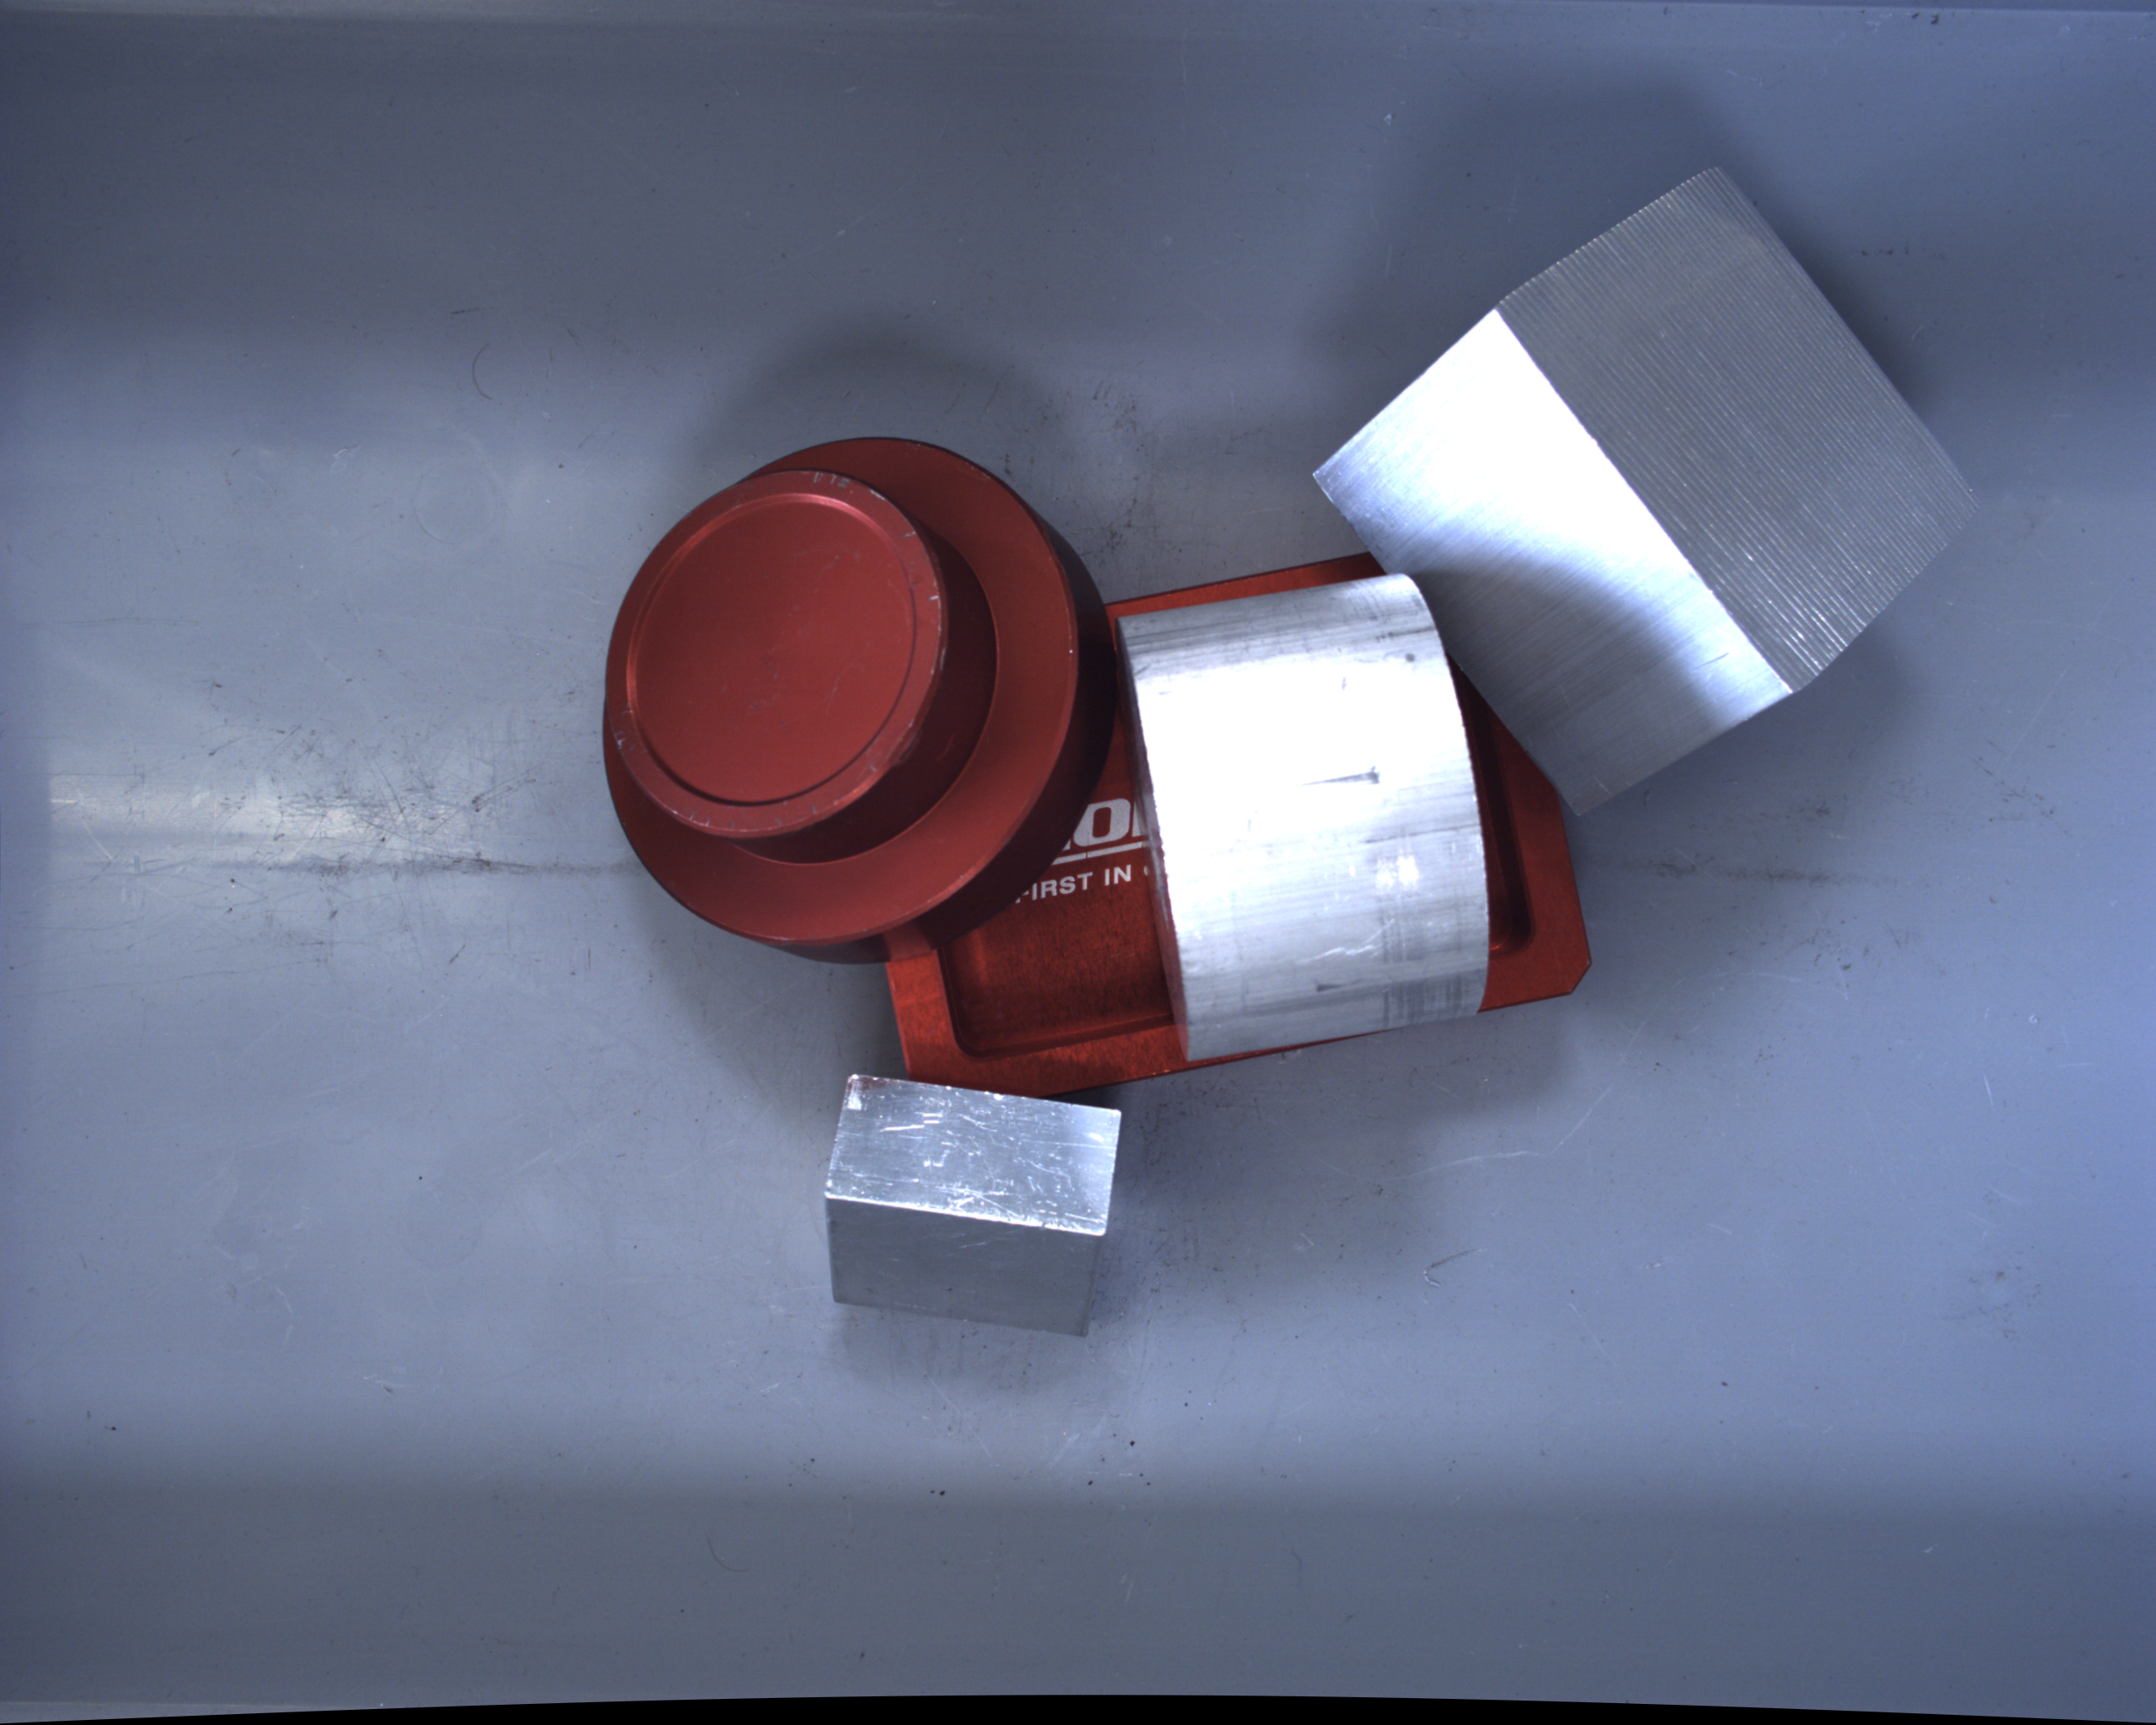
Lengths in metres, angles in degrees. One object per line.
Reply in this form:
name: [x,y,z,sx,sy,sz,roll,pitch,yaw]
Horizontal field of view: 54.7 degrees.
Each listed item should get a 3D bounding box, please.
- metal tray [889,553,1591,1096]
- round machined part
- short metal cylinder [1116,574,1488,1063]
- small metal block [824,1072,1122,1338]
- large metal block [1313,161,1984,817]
metal tray: [0.025,-0.007,0.409,0.131,0.030,0.089,-11,90,0]
round machined part: [-0.046,-0.033,0.382,0.098,0.042,0.098,-6,74,22]
short metal cylinder: [0.038,-0.008,0.370,0.050,0.080,0.080,-9,90,-1]
small metal block: [-0.020,0.066,0.395,0.050,0.050,0.025,8,56,0]
large metal block: [0.104,-0.068,0.378,0.080,0.050,0.080,-39,91,-37]
